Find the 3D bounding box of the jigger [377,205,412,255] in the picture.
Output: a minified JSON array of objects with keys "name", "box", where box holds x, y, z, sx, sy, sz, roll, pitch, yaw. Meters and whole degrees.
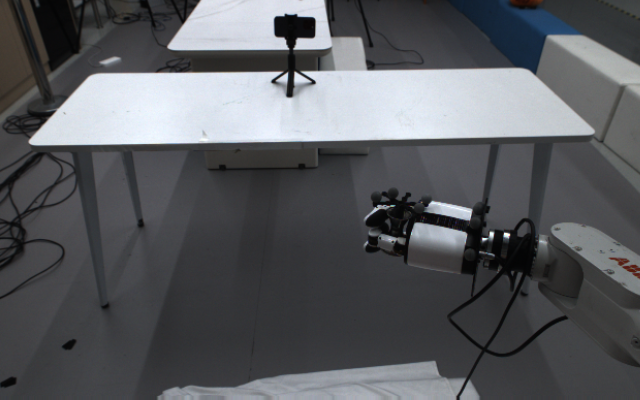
[{"name":"jigger","box":[0.128,0.050,0.791,0.043,0.071,0.043,3,25,-1]}]
